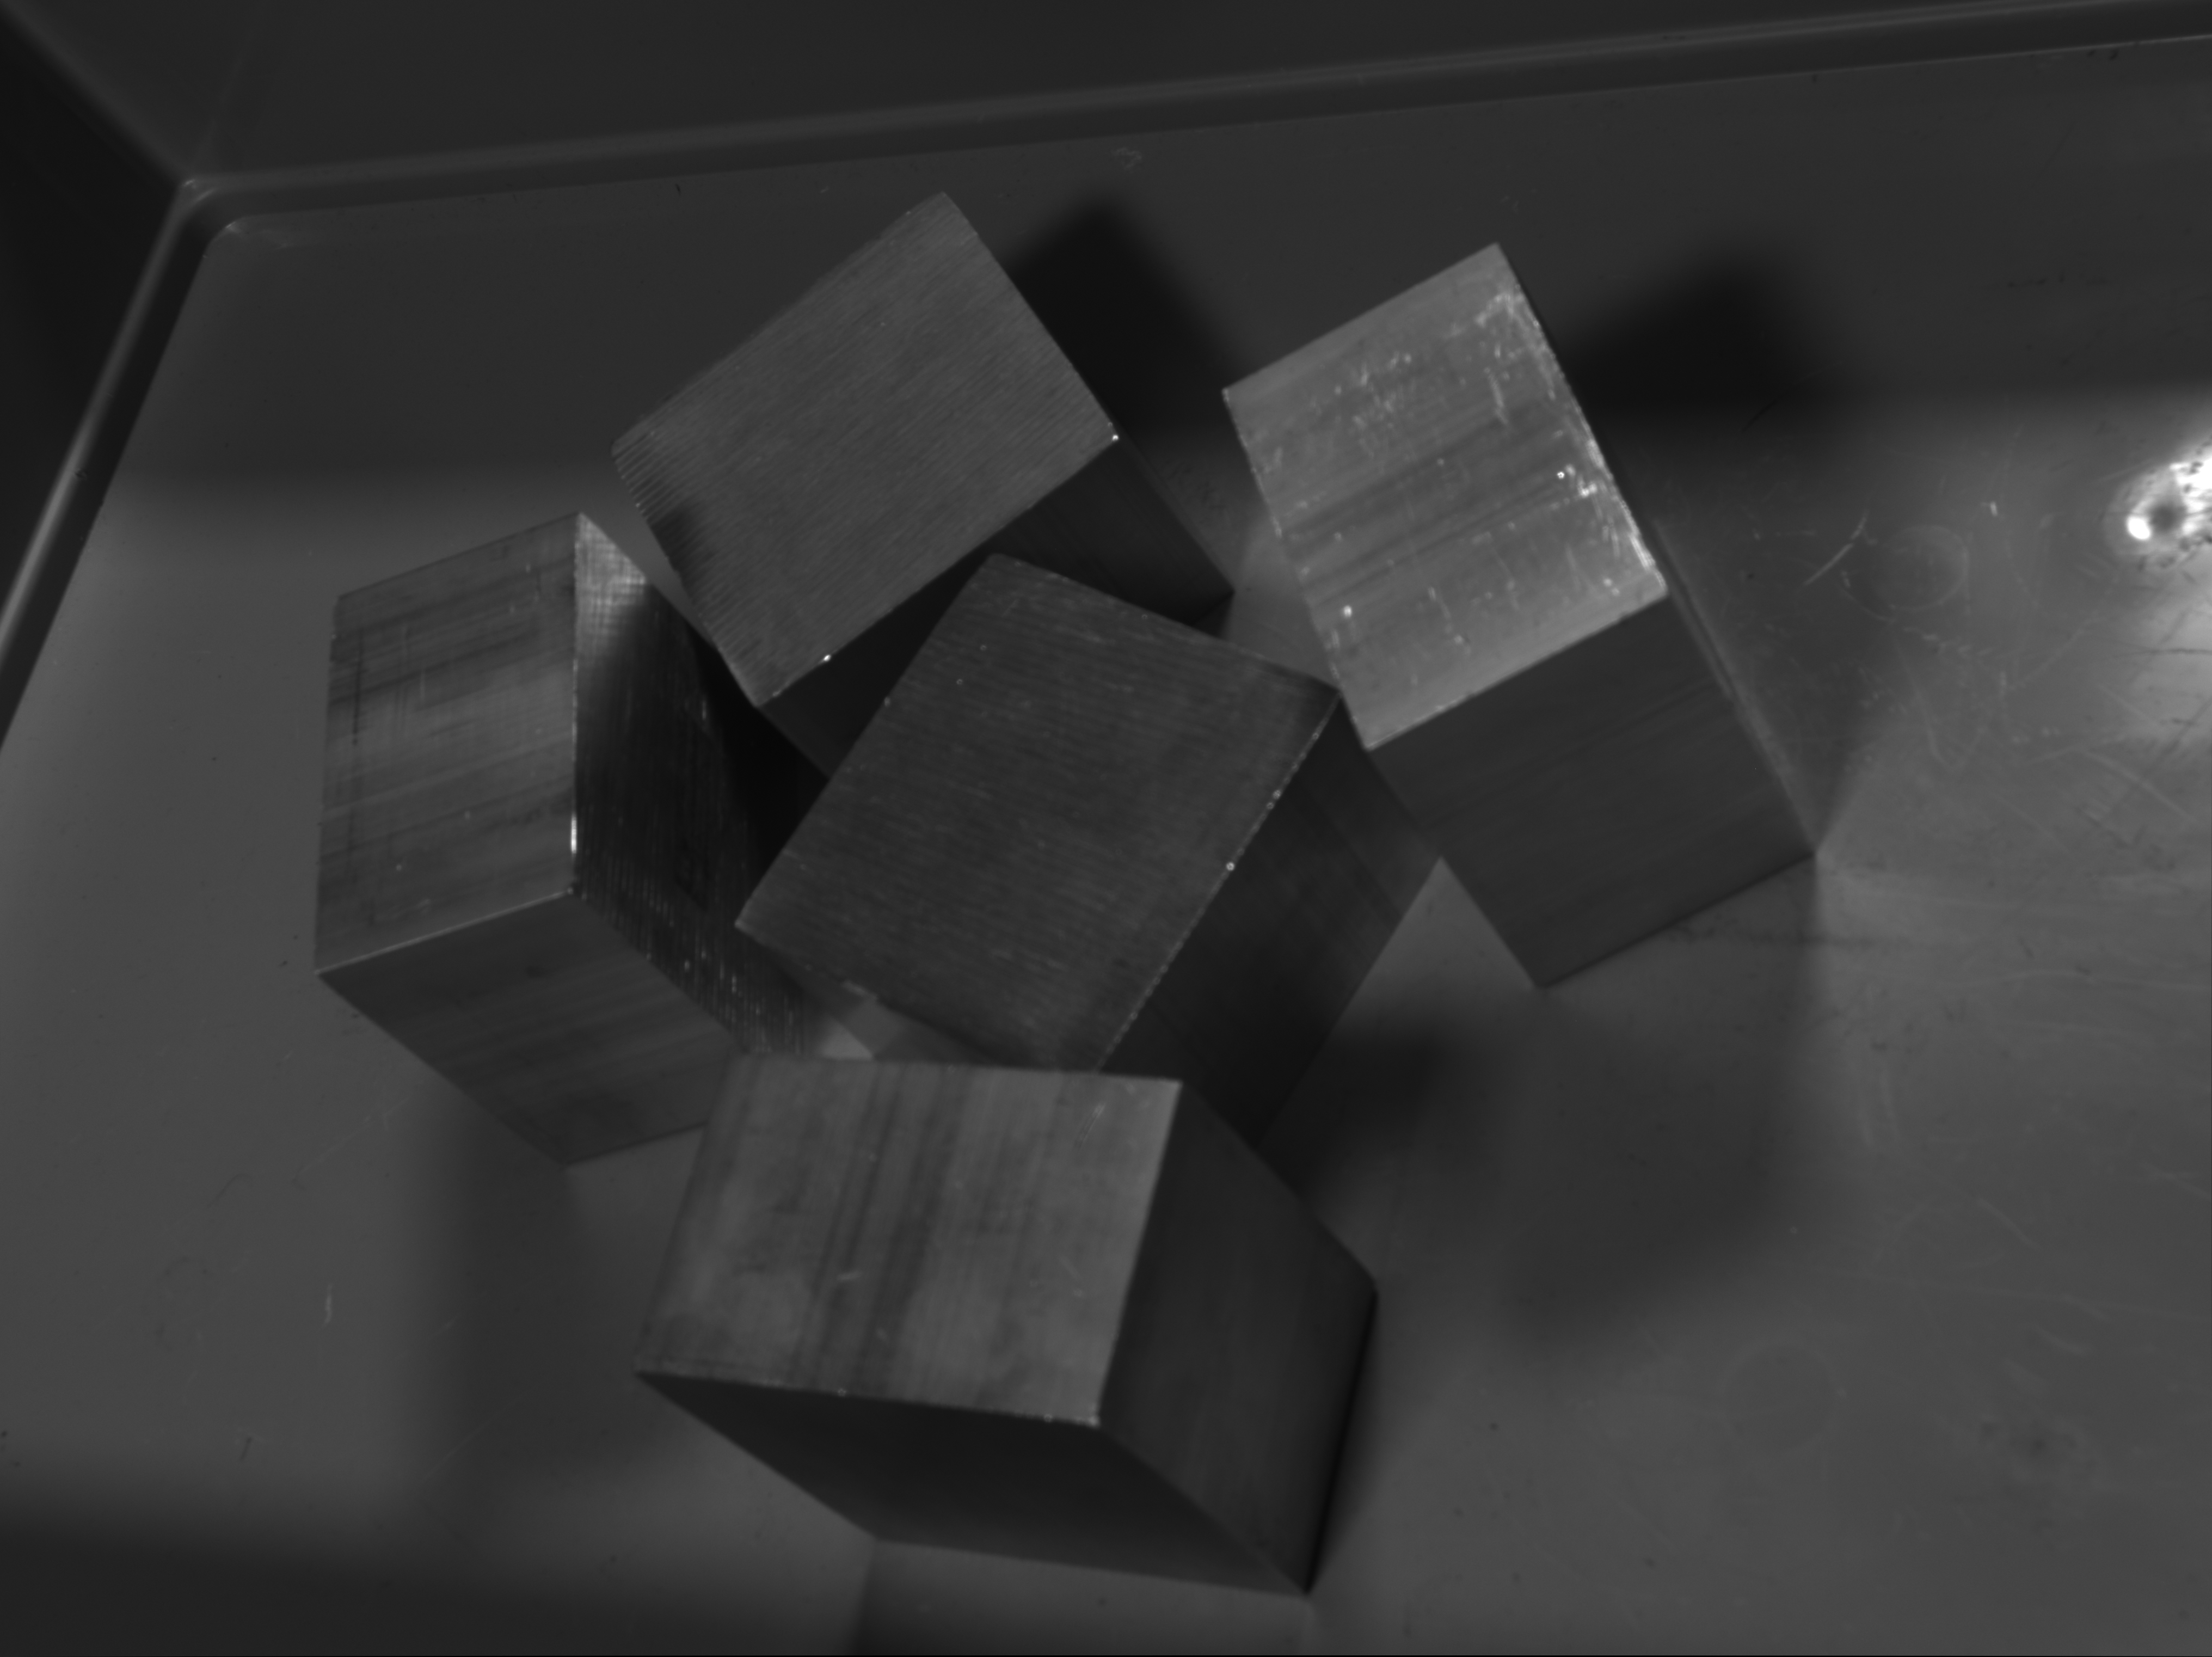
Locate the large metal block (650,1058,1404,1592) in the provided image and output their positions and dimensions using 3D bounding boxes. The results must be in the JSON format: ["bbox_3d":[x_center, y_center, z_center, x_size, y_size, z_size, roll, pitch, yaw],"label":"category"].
[{"bbox_3d":[-0.010,0.077,0.566,0.080,0.080,0.050,1,62,29],"label":"large metal block"}]

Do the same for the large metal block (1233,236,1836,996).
[{"bbox_3d":[0.069,-0.033,0.590,0.050,0.080,0.080,-27,52,11],"label":"large metal block"}]

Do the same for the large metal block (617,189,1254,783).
[{"bbox_3d":[-0.032,-0.058,0.680,0.080,0.050,0.080,-36,51,4],"label":"large metal block"}]

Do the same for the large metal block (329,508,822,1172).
[{"bbox_3d":[-0.093,0.004,0.655,0.050,0.080,0.080,-17,55,18],"label":"large metal block"}]

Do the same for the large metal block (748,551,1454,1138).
[{"bbox_3d":[0.001,0.010,0.620,0.080,0.050,0.080,25,75,37],"label":"large metal block"}]
